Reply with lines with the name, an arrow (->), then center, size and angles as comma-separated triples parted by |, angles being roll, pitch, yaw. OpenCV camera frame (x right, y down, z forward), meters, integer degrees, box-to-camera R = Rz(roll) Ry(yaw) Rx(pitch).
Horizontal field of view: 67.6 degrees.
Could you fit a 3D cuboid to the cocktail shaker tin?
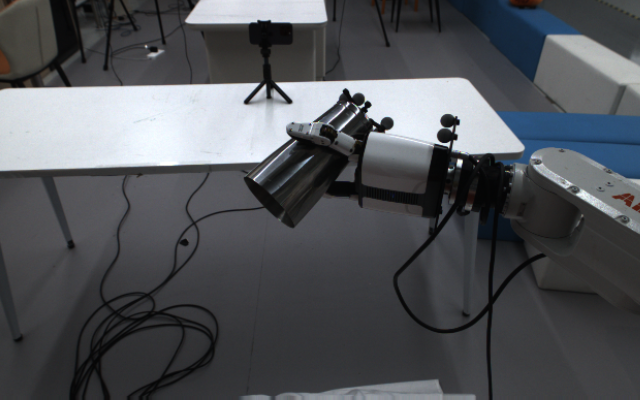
cocktail shaker tin -> -0.008, -0.059, 0.646 | 0.170, 0.093, 0.093 | -44, 50, -14
